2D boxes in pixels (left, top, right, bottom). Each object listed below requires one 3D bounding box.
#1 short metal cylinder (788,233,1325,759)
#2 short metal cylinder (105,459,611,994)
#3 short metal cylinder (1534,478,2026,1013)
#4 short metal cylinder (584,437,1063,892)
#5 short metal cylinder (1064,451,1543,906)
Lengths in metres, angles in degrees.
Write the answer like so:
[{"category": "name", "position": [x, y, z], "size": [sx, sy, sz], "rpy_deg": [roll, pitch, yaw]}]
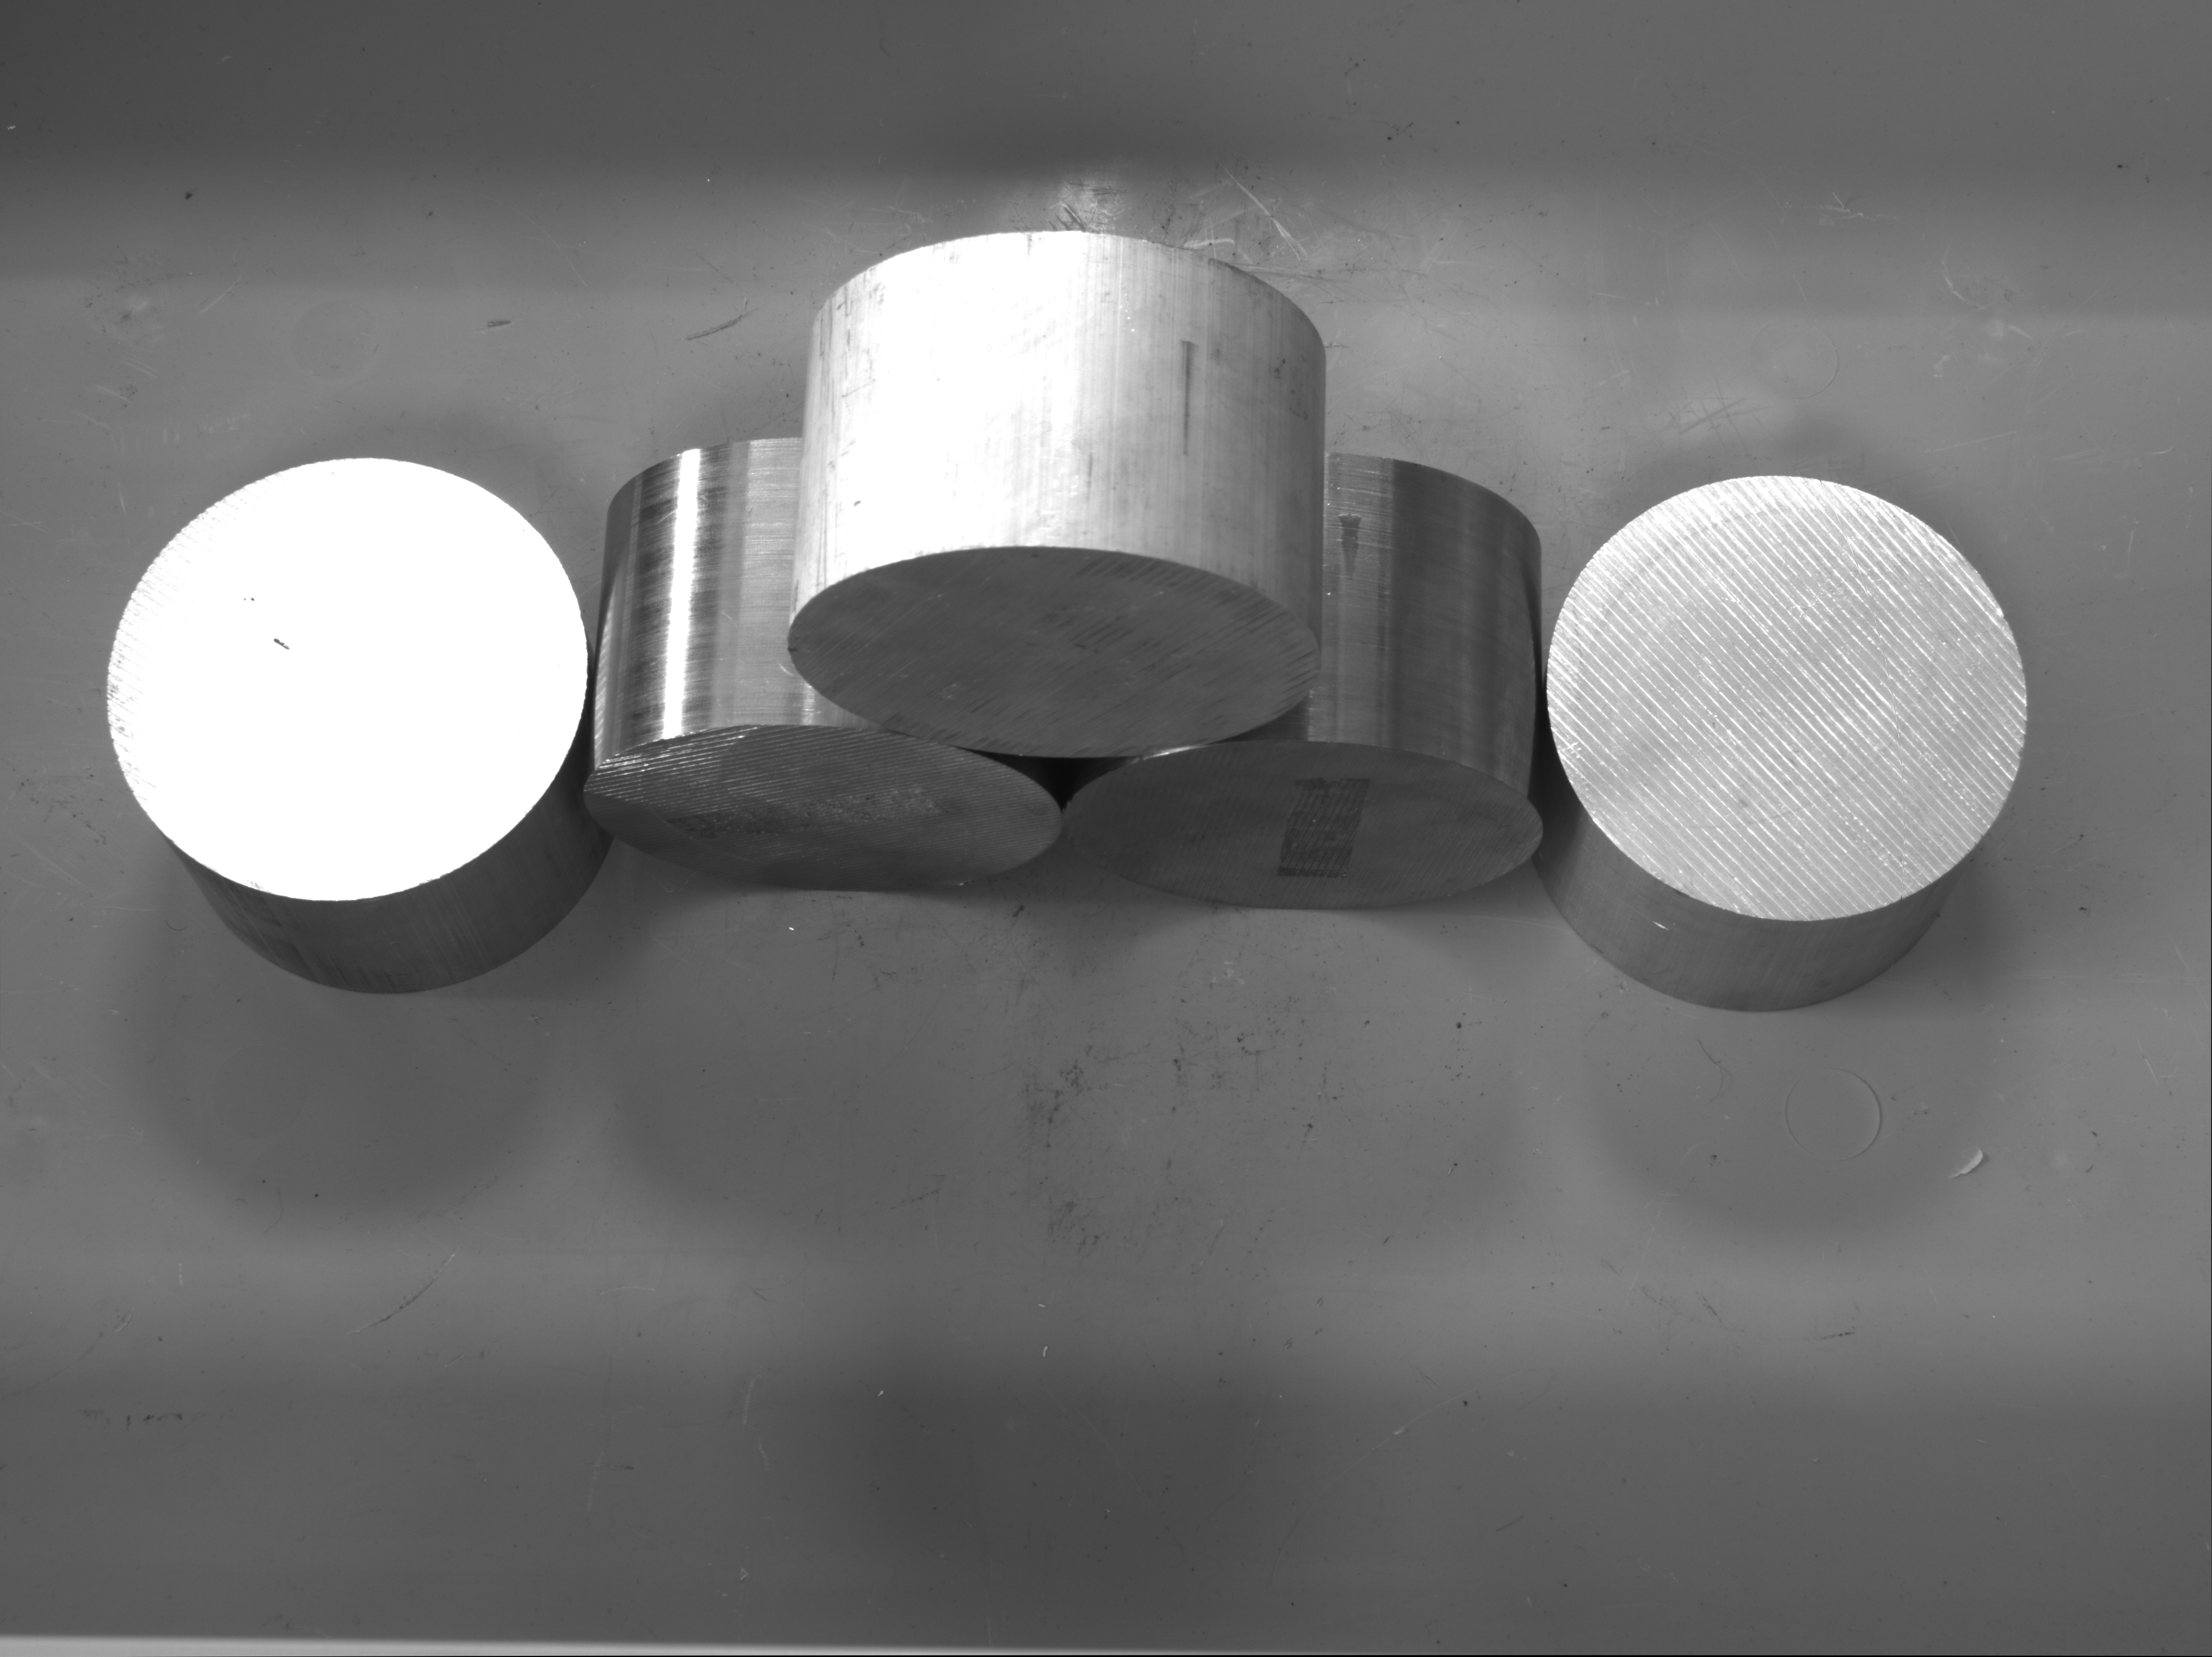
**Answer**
[{"category": "short metal cylinder", "position": [-0.007, -0.049, 0.559], "size": [0.080, 0.080, 0.050], "rpy_deg": [2, 70, 1]}, {"category": "short metal cylinder", "position": [-0.127, -0.017, 0.636], "size": [0.080, 0.050, 0.080], "rpy_deg": [0, 70, 0]}, {"category": "short metal cylinder", "position": [0.113, -0.014, 0.635], "size": [0.080, 0.050, 0.080], "rpy_deg": [0, 70, 0]}, {"category": "short metal cylinder", "position": [-0.046, -0.026, 0.623], "size": [0.080, 0.080, 0.050], "rpy_deg": [2, 70, 1]}, {"category": "short metal cylinder", "position": [0.034, -0.024, 0.623], "size": [0.080, 0.080, 0.050], "rpy_deg": [2, 70, 1]}]
